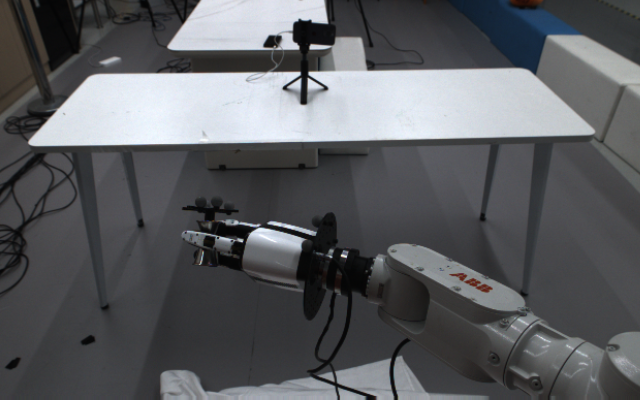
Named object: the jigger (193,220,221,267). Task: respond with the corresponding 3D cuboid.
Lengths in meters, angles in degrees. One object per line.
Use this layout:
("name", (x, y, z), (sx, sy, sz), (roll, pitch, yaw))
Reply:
("jigger", (-0.172, 0.067, 0.746), (0.043, 0.071, 0.043), (2, -5, 0))
